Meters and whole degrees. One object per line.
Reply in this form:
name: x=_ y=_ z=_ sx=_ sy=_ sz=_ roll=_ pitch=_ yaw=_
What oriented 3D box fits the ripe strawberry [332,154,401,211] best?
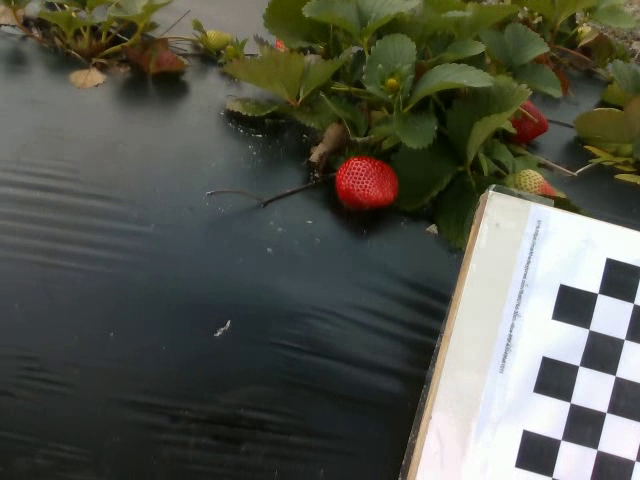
ripe strawberry: x=0.024 y=-0.032 z=0.322 sx=0.037 sy=0.037 sz=0.046 roll=-30 pitch=35 yaw=4
